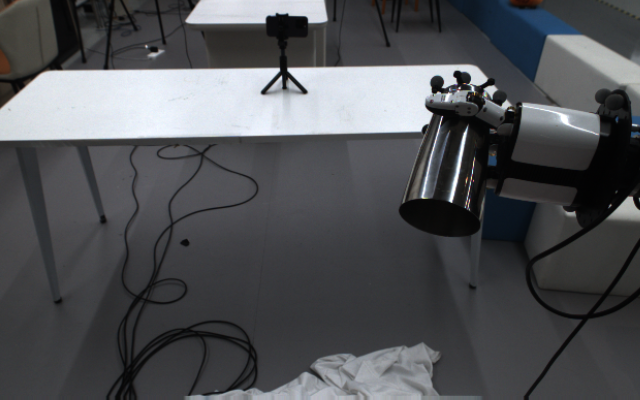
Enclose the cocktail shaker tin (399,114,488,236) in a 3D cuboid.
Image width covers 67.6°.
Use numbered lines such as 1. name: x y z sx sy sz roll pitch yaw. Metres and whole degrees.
1. cocktail shaker tin: 0.161 -0.056 0.576 0.093 0.093 0.170 13 65 15
